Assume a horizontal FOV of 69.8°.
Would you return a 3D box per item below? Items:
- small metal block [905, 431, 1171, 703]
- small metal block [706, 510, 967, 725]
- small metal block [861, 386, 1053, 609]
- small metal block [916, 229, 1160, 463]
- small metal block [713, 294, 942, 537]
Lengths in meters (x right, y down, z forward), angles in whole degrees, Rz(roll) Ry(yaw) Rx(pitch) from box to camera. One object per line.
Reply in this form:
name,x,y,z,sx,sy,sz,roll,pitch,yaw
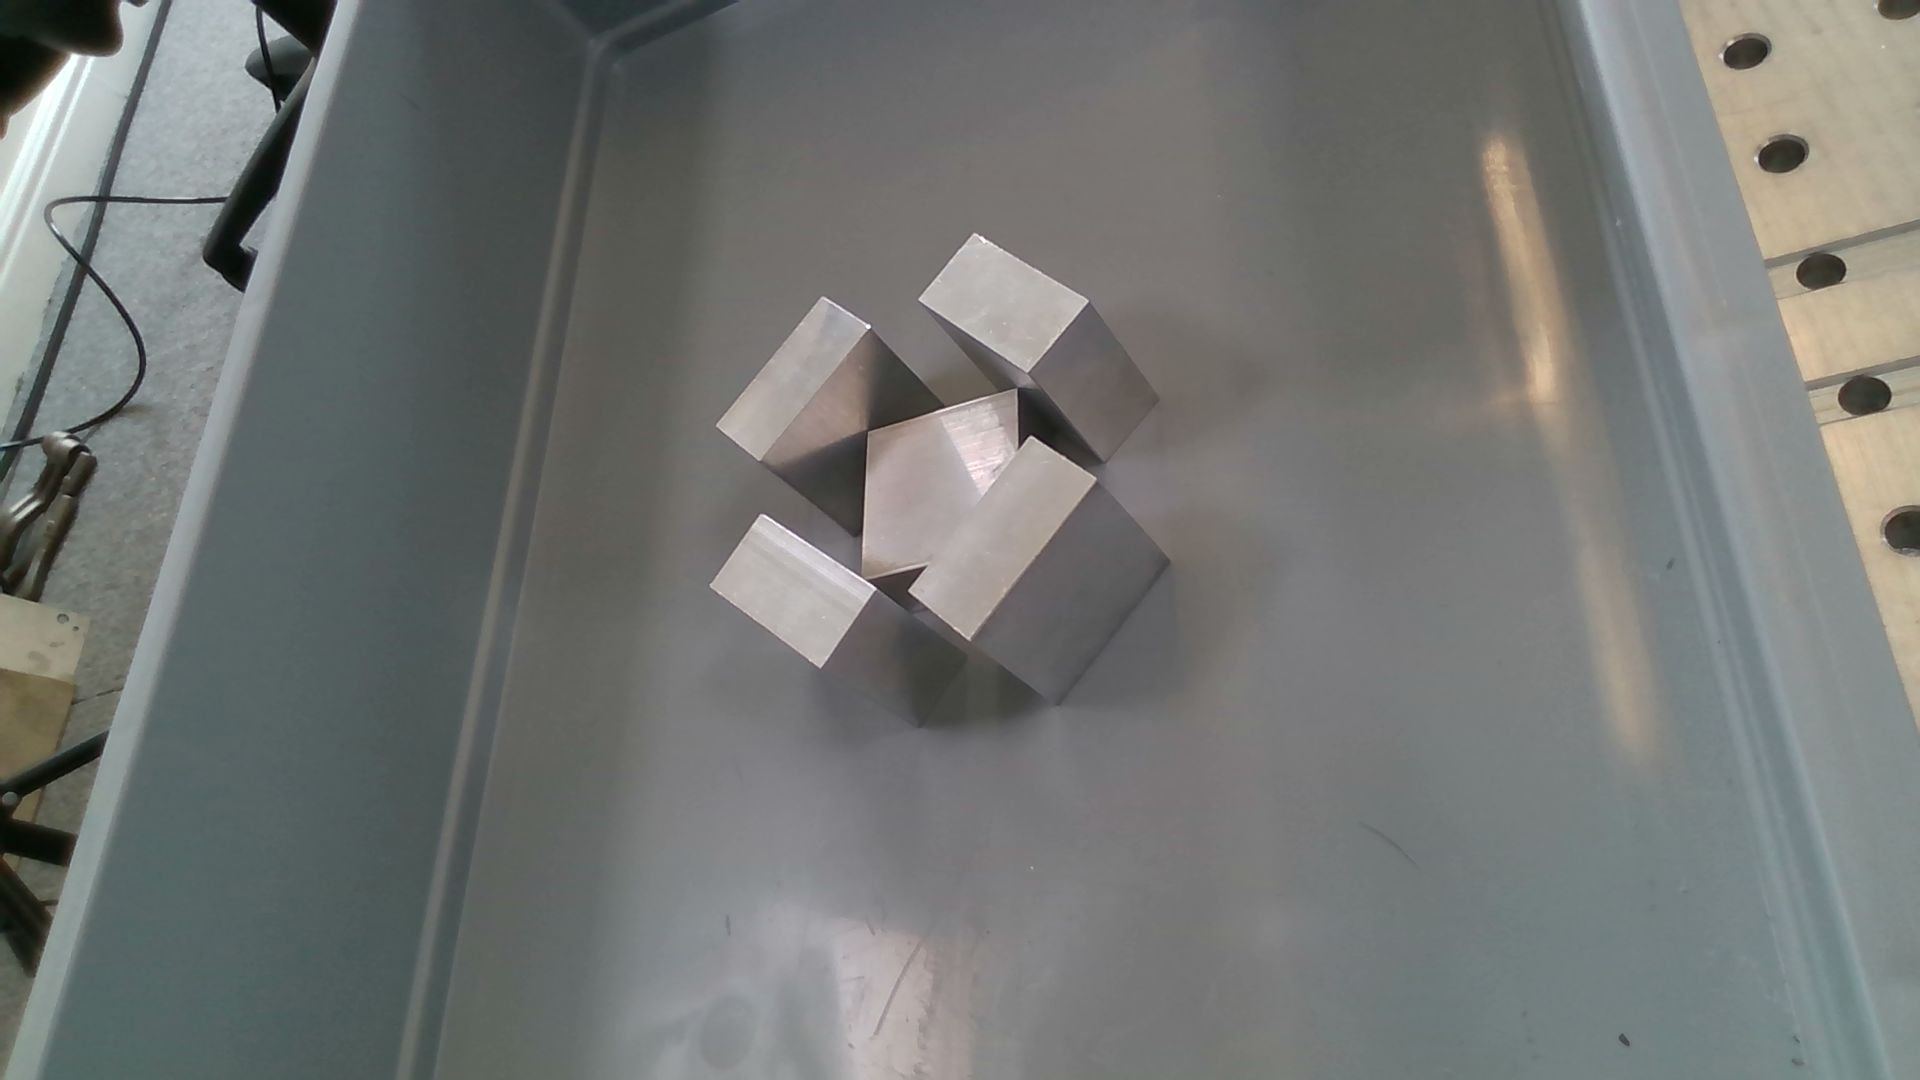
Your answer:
small metal block,0.021,0.008,0.357,0.025,0.050,0.050,37,89,38
small metal block,-0.034,0.022,0.384,0.050,0.050,0.025,31,84,38
small metal block,0.000,-0.011,0.397,0.050,0.025,0.050,-14,59,25
small metal block,0.022,-0.055,0.390,0.025,0.050,0.050,-49,50,-1
small metal block,-0.037,-0.037,0.418,0.050,0.050,0.025,-51,50,-2
